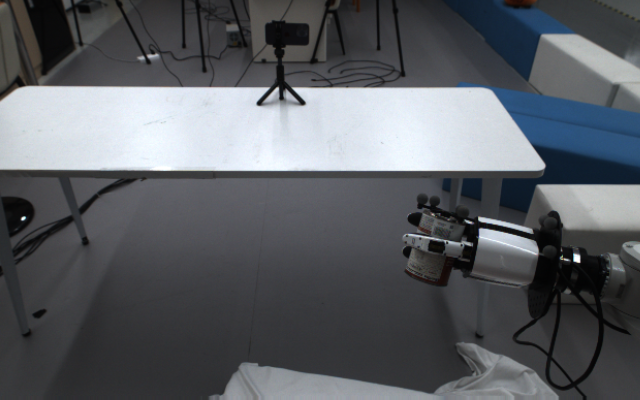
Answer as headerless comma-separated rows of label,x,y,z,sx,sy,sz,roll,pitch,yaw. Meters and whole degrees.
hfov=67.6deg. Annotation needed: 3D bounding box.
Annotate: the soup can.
soup can,0.177,0.072,0.739,0.067,0.101,0.067,15,7,-2
